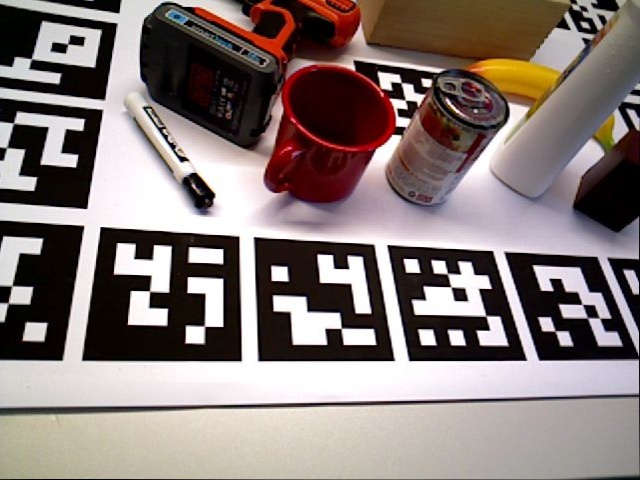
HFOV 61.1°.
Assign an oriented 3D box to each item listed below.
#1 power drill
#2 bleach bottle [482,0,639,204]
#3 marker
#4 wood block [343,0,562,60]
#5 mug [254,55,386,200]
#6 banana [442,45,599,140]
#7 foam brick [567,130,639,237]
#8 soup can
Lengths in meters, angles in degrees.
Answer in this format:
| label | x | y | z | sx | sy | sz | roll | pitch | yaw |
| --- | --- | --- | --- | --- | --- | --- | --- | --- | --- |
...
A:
| label | x | y | z | sx | sy | sz | roll | pitch | yaw |
| --- | --- | --- | --- | --- | --- | --- | --- | --- | --- |
| power drill | -0.079 | -0.195 | 0.509 | 0.184 | 0.059 | 0.183 | 29 | 53 | -3 |
| bleach bottle | 0.228 | -0.143 | 0.446 | 0.068 | 0.257 | 0.100 | 27 | 53 | 1 |
| marker | -0.131 | -0.064 | 0.429 | 0.019 | 0.020 | 0.121 | -28 | 71 | -28 |
| wood block | 0.139 | -0.263 | 0.597 | 0.204 | 0.093 | 0.089 | 2 | 59 | -17 |
| mug | -0.012 | -0.079 | 0.434 | 0.093 | 0.083 | 0.114 | 40 | 58 | 7 |
| banana | 0.221 | -0.172 | 0.592 | 0.196 | 0.039 | 0.073 | 17 | 69 | -9 |
| foam brick | 0.284 | -0.052 | 0.517 | 0.052 | 0.080 | 0.050 | 30 | 52 | 5 |
| soup can | 0.095 | -0.086 | 0.453 | 0.067 | 0.104 | 0.067 | 10 | 52 | -13 |
